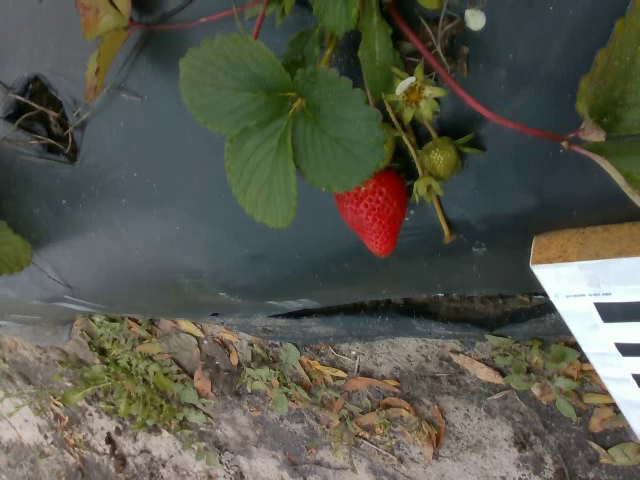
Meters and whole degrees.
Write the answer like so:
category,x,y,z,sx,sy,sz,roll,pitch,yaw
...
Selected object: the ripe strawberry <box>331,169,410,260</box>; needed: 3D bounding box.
category,x,y,z,sx,sy,sz,roll,pitch,yaw
ripe strawberry,0.008,-0.003,0.092,0.018,0.017,0.014,-13,6,26
